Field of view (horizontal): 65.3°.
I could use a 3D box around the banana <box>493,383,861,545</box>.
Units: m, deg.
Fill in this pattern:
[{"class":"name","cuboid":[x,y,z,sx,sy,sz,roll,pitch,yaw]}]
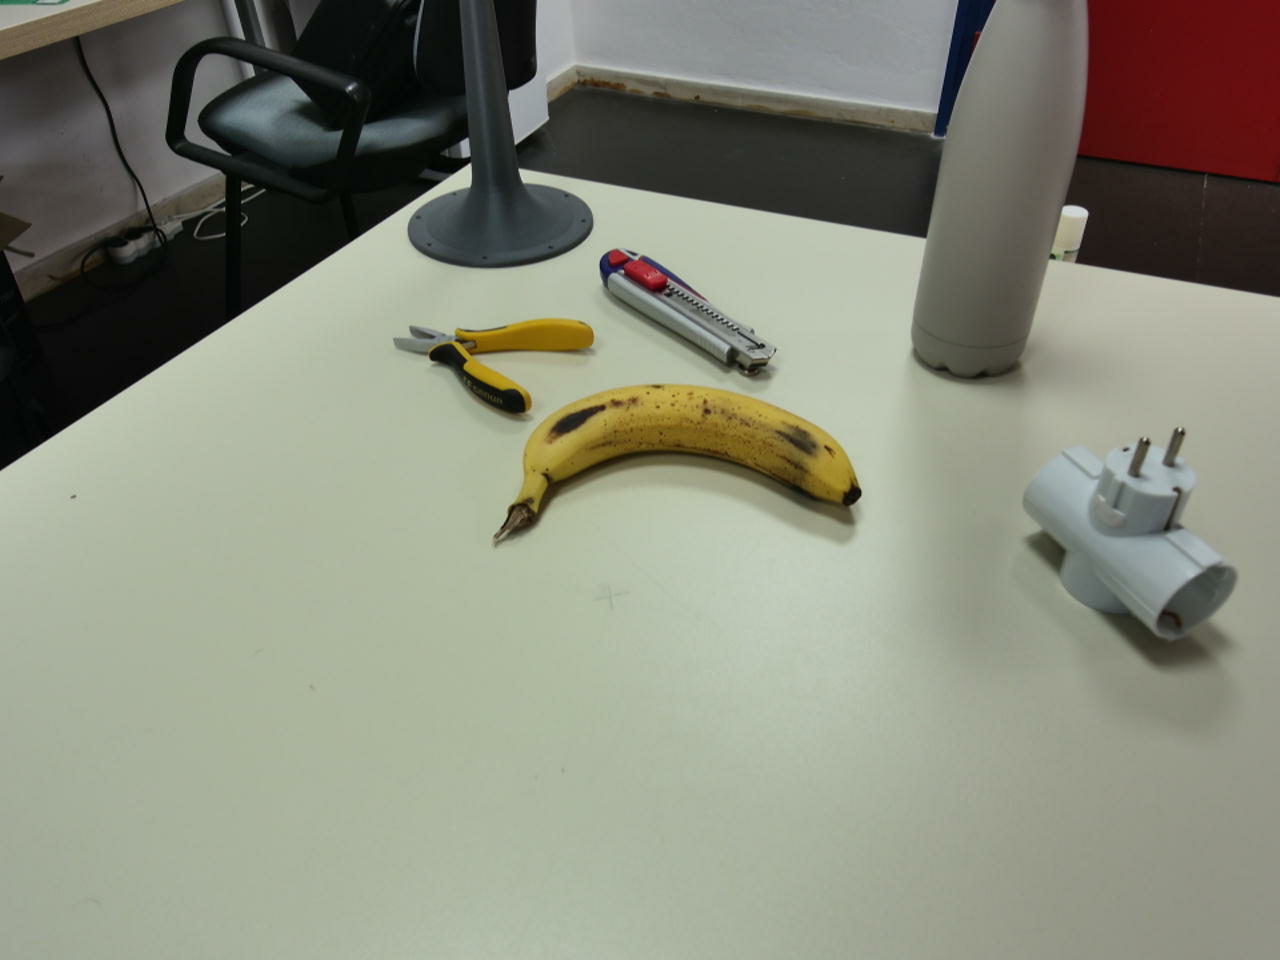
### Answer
[{"class":"banana","cuboid":[0.020,-0.016,0.548,0.186,0.038,0.097,-2,38,-1]}]
